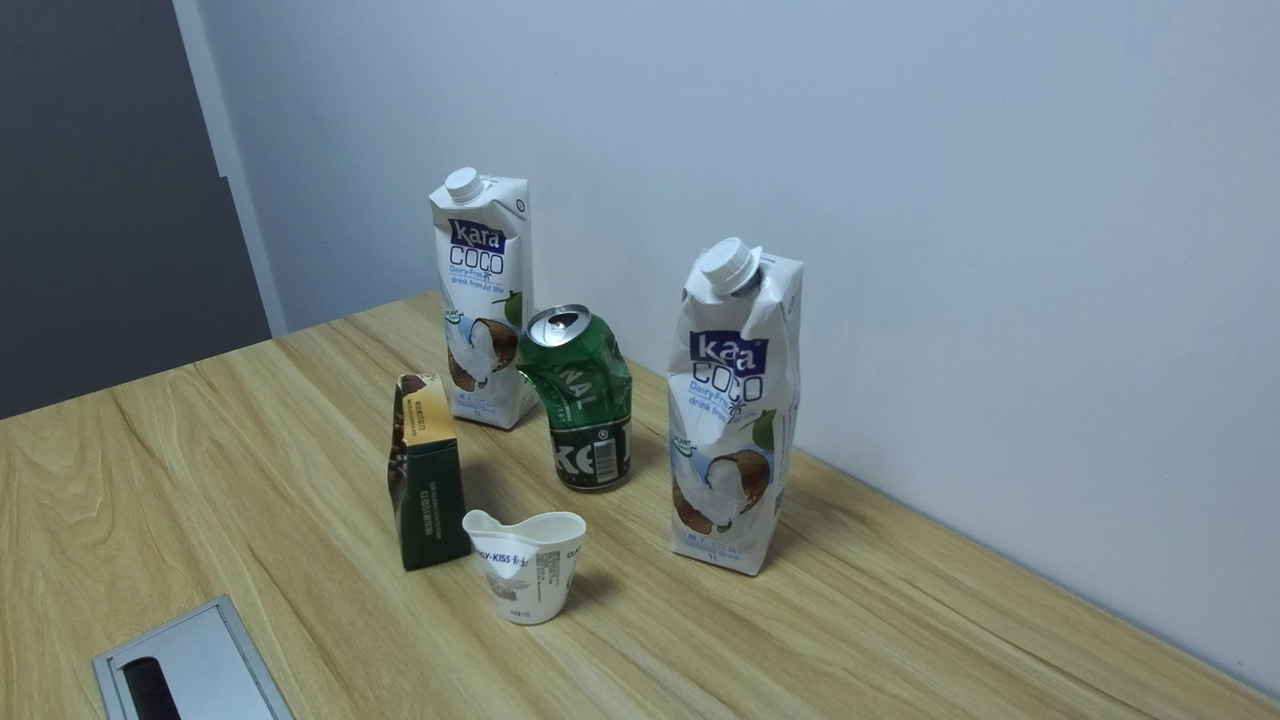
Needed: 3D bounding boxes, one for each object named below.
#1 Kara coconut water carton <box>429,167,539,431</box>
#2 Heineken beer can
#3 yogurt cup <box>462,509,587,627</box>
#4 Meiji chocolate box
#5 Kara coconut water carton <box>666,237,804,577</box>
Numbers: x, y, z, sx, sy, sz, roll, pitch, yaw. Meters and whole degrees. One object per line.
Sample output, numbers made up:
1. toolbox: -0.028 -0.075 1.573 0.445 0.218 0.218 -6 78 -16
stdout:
1. Kara coconut water carton: -0.141 -0.058 0.665 0.099 0.244 0.071 8 27 21
2. Heineken beer can: -0.047 0.033 0.595 0.079 0.159 0.067 -29 35 -29
3. yogurt cup: -0.077 0.138 0.490 0.075 0.071 0.053 -11 32 -17
4. Meiji chocolate box: -0.172 0.083 0.554 0.058 0.111 0.113 -7 29 -21
5. Kara coconut water carton: 0.063 0.031 0.489 0.083 0.256 0.078 20 38 31
